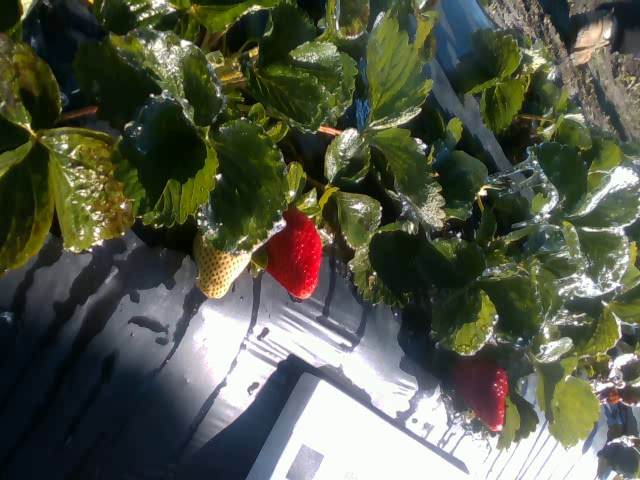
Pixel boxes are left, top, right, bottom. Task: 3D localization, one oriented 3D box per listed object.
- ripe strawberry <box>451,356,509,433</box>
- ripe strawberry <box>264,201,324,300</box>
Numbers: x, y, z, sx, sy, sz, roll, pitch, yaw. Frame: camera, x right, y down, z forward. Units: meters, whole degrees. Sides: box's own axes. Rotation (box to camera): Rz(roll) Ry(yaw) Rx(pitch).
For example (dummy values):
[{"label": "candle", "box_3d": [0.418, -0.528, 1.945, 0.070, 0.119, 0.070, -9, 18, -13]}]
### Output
[{"label": "ripe strawberry", "box_3d": [0.136, 0.127, 0.480, 0.044, 0.061, 0.048, -27, -44, 35]}, {"label": "ripe strawberry", "box_3d": [-0.017, 0.015, 0.352, 0.042, 0.061, 0.046, 23, -49, -37]}]
